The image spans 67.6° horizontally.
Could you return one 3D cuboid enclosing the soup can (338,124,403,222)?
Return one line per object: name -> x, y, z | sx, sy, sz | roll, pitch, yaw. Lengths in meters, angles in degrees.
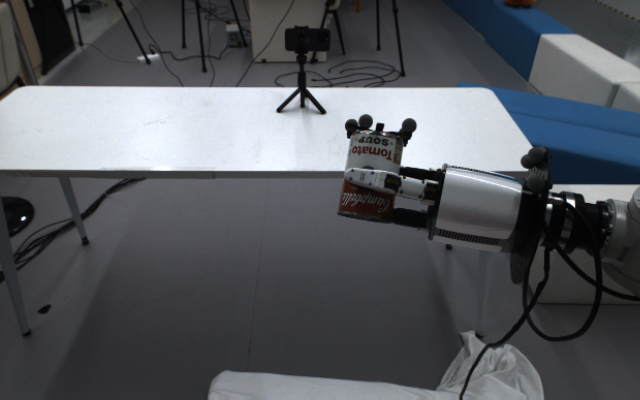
soup can -> 0.064, -0.028, 0.593 | 0.067, 0.101, 0.067 | 9, -5, 1
